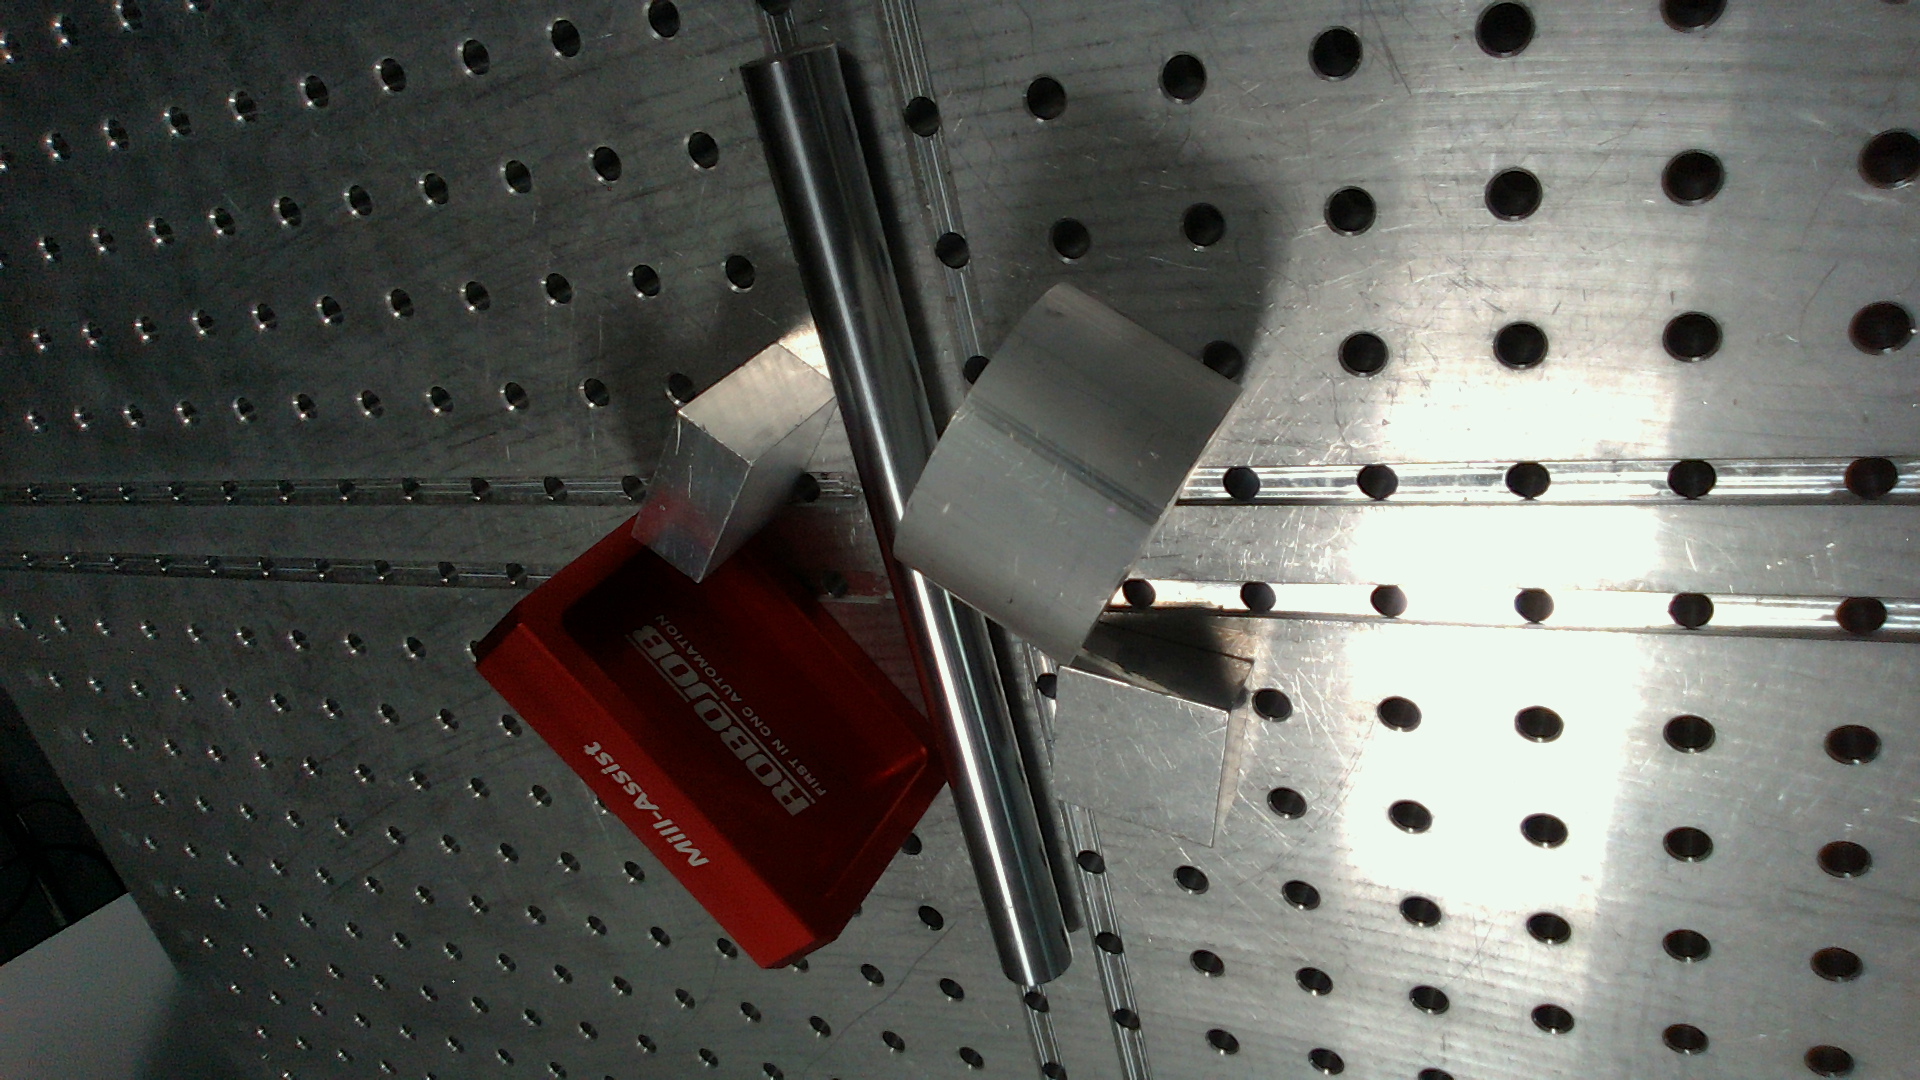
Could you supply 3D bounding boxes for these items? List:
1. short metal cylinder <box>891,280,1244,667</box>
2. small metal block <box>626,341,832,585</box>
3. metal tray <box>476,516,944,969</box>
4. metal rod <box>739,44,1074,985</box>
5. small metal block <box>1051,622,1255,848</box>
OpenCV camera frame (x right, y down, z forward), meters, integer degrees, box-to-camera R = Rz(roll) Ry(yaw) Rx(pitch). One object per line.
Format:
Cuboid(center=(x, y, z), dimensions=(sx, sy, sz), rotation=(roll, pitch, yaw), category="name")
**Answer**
Cuboid(center=(0.026, -0.016, 0.336), dimensions=(0.050, 0.080, 0.080), rotation=(33, 129, 7), category="short metal cylinder")
Cuboid(center=(-0.066, -0.023, 0.400), dimensions=(0.025, 0.050, 0.050), rotation=(35, 129, 5), category="small metal block")
Cuboid(center=(-0.070, 0.053, 0.424), dimensions=(0.130, 0.090, 0.030), rotation=(48, 129, -6), category="metal tray")
Cuboid(center=(-0.008, 0.011, 0.406), dimensions=(0.025, 0.025, 0.300), rotation=(0, 118, 29), category="metal rod")
Cuboid(center=(0.056, 0.056, 0.402), dimensions=(0.050, 0.025, 0.050), rotation=(14, 124, 20), category="small metal block")
